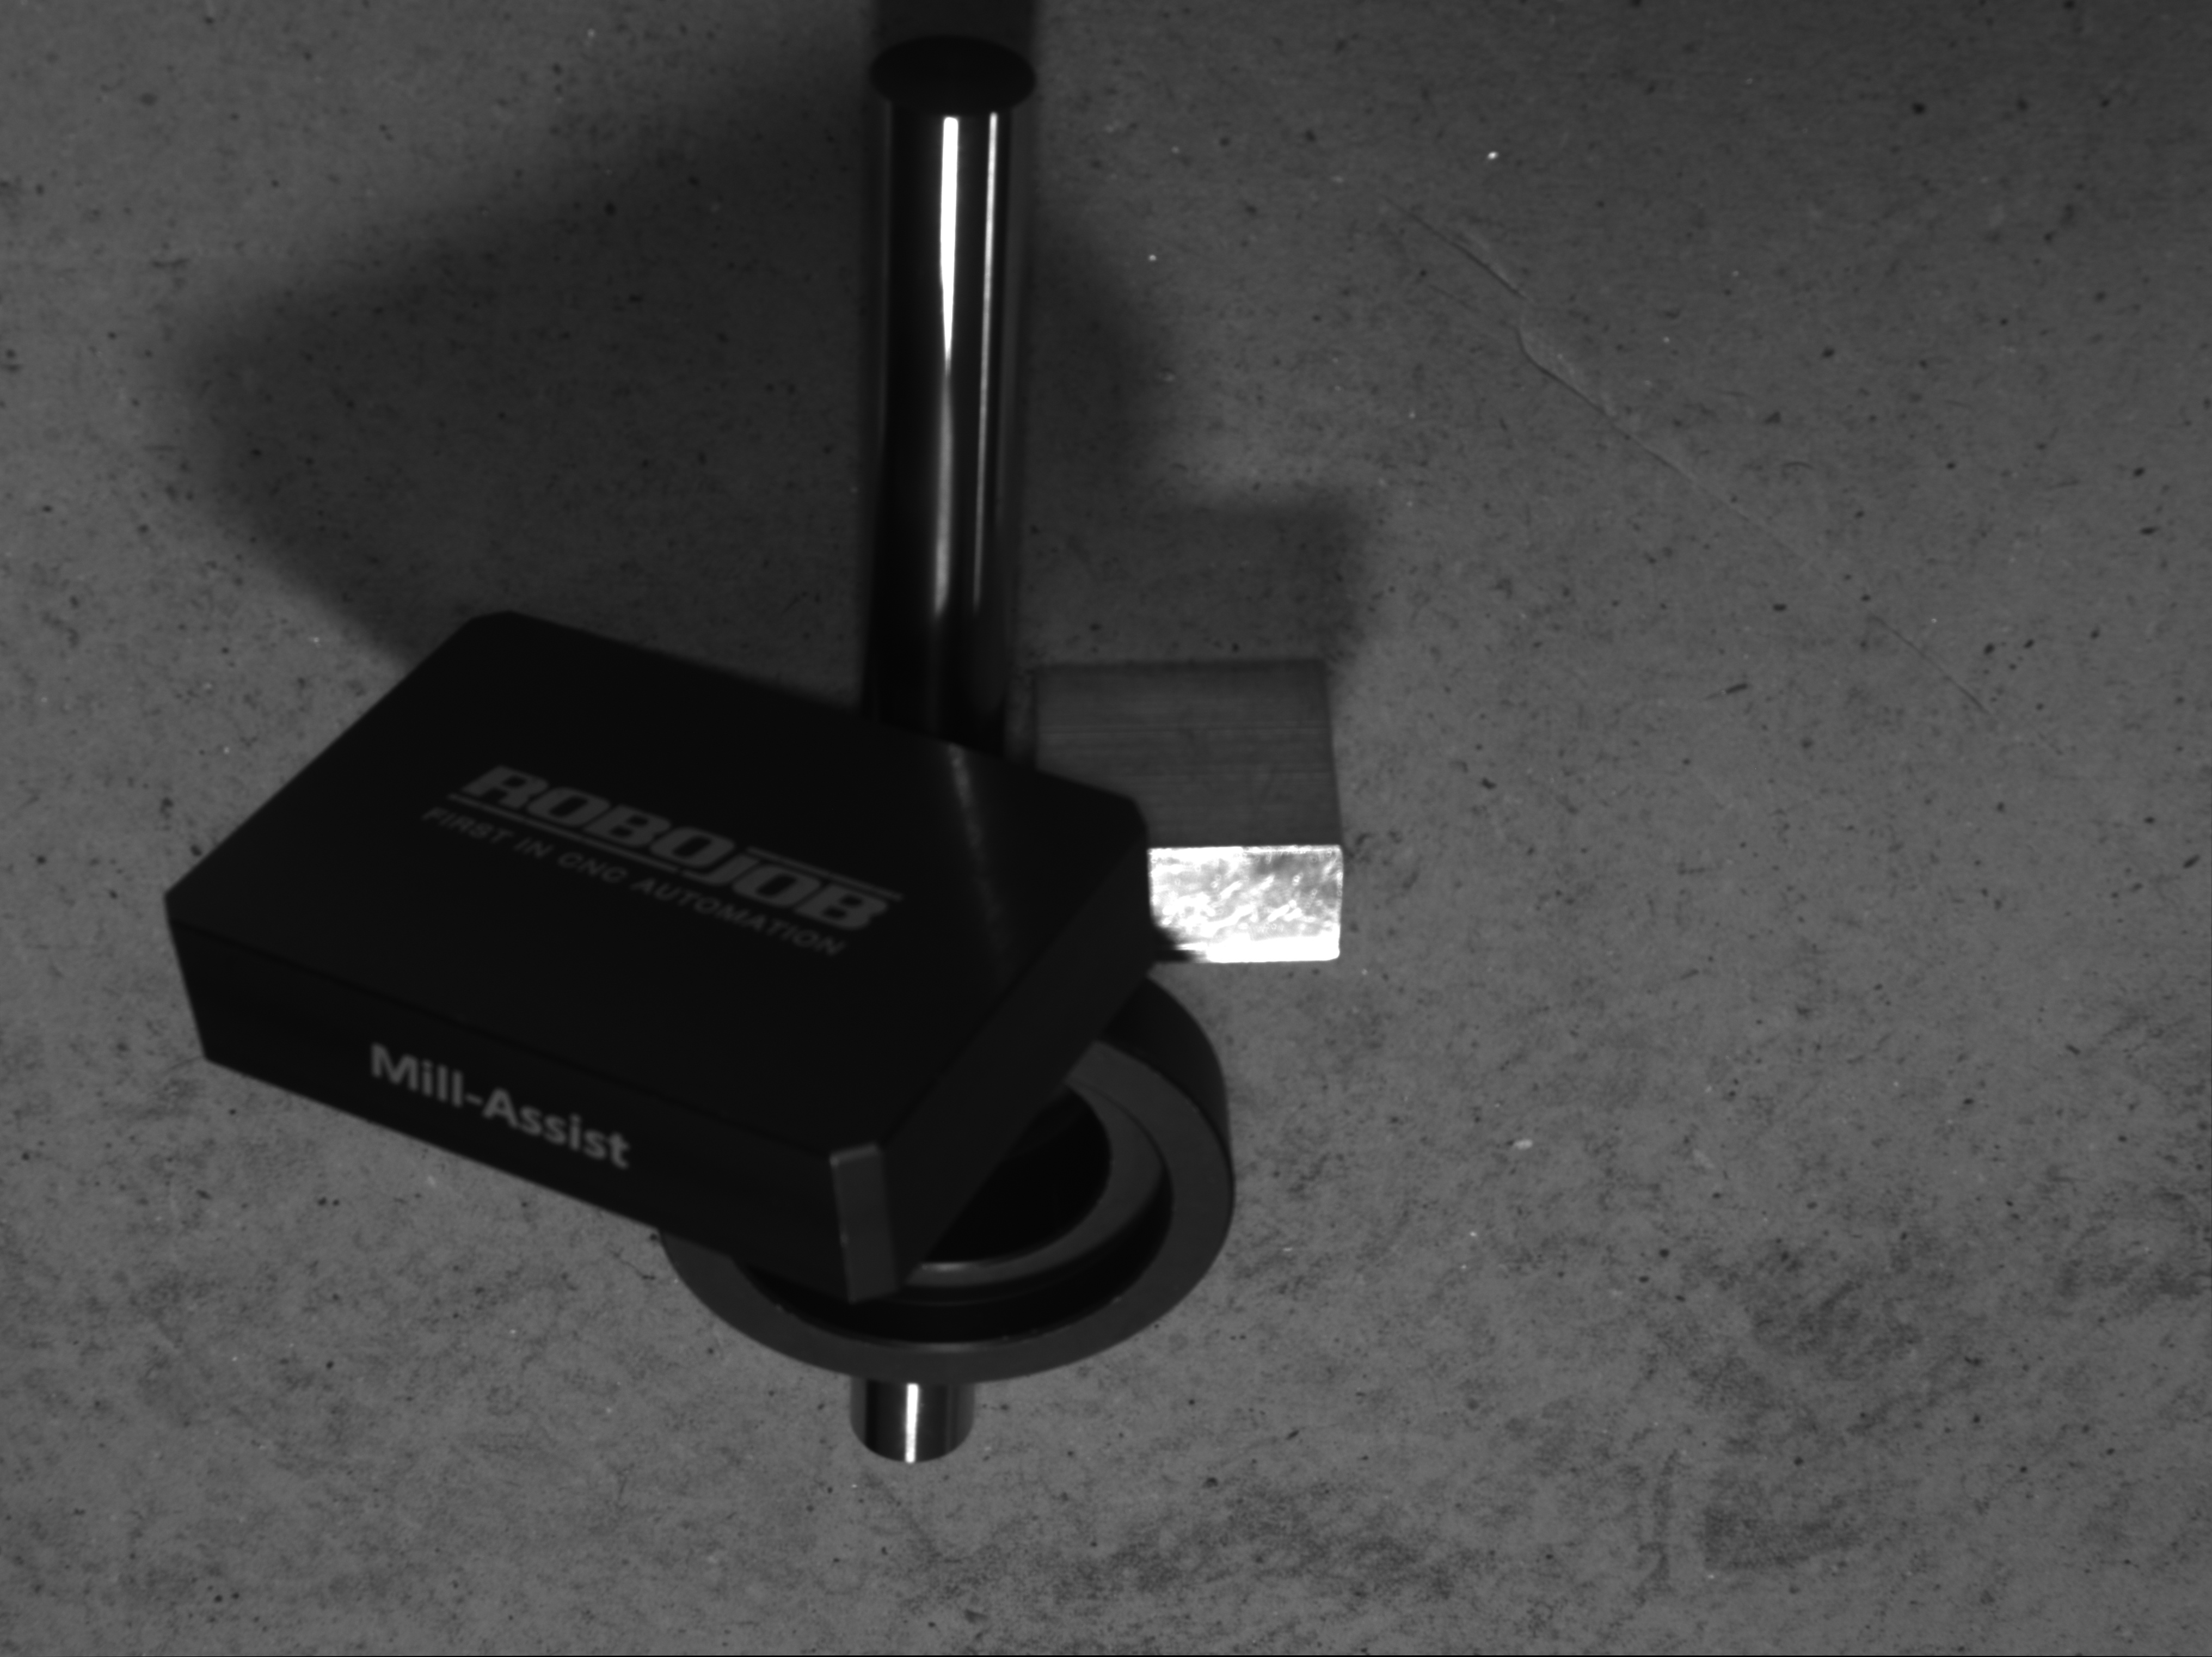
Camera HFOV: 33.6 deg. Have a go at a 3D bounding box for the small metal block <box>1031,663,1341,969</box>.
[{"bbox_3d":[0.013,-0.002,0.620,0.050,0.050,0.025,-1,130,-1],"label":"small metal block"}]

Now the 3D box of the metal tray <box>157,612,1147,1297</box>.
[{"bbox_3d":[-0.070,0.016,0.577,0.130,0.090,0.030,17,133,23],"label":"metal tray"}]

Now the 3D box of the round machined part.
[{"bbox_3d":[-0.029,0.050,0.633,0.098,0.042,0.098,-2,133,-2],"label":"round machined part"}]

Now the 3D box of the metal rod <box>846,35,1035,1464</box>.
[{"bbox_3d":[-0.031,0.003,0.640,0.025,0.025,0.300,2,130,-3],"label":"metal rod"}]

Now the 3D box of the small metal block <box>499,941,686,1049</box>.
[{"bbox_3d":[-0.089,0.021,0.637,0.050,0.050,0.025,-15,129,11],"label":"small metal block"}]
